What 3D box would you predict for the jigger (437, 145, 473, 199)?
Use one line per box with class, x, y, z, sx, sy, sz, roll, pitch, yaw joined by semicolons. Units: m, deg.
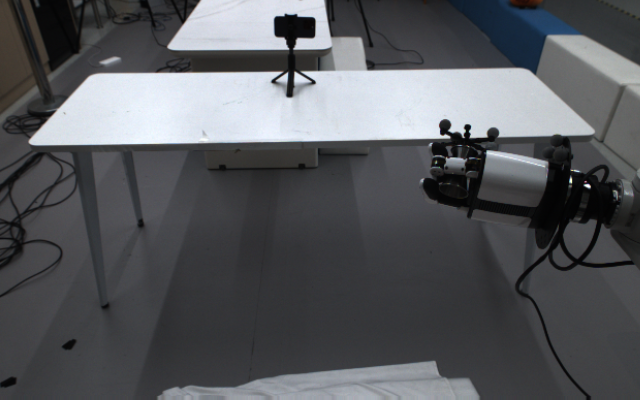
jigger;0.207;-0.043;0.712;0.043;0.043;0.071;13;69;15
